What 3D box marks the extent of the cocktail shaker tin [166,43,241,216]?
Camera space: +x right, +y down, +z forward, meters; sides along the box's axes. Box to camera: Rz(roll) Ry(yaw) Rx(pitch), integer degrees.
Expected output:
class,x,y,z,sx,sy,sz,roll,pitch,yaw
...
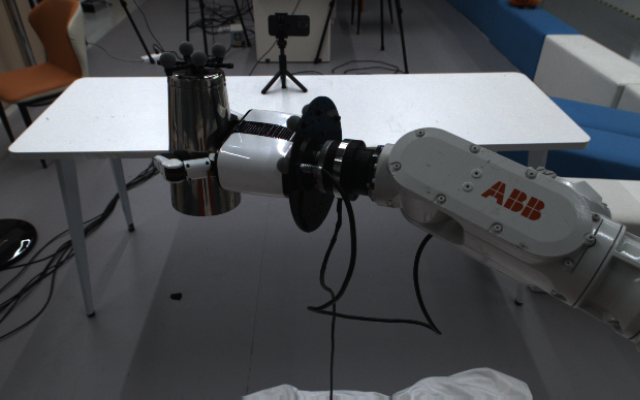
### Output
class,x,y,z,sx,sy,sz,roll,pitch,yaw
cocktail shaker tin,-0.146,-0.076,0.607,0.093,0.170,0.093,2,28,-1
